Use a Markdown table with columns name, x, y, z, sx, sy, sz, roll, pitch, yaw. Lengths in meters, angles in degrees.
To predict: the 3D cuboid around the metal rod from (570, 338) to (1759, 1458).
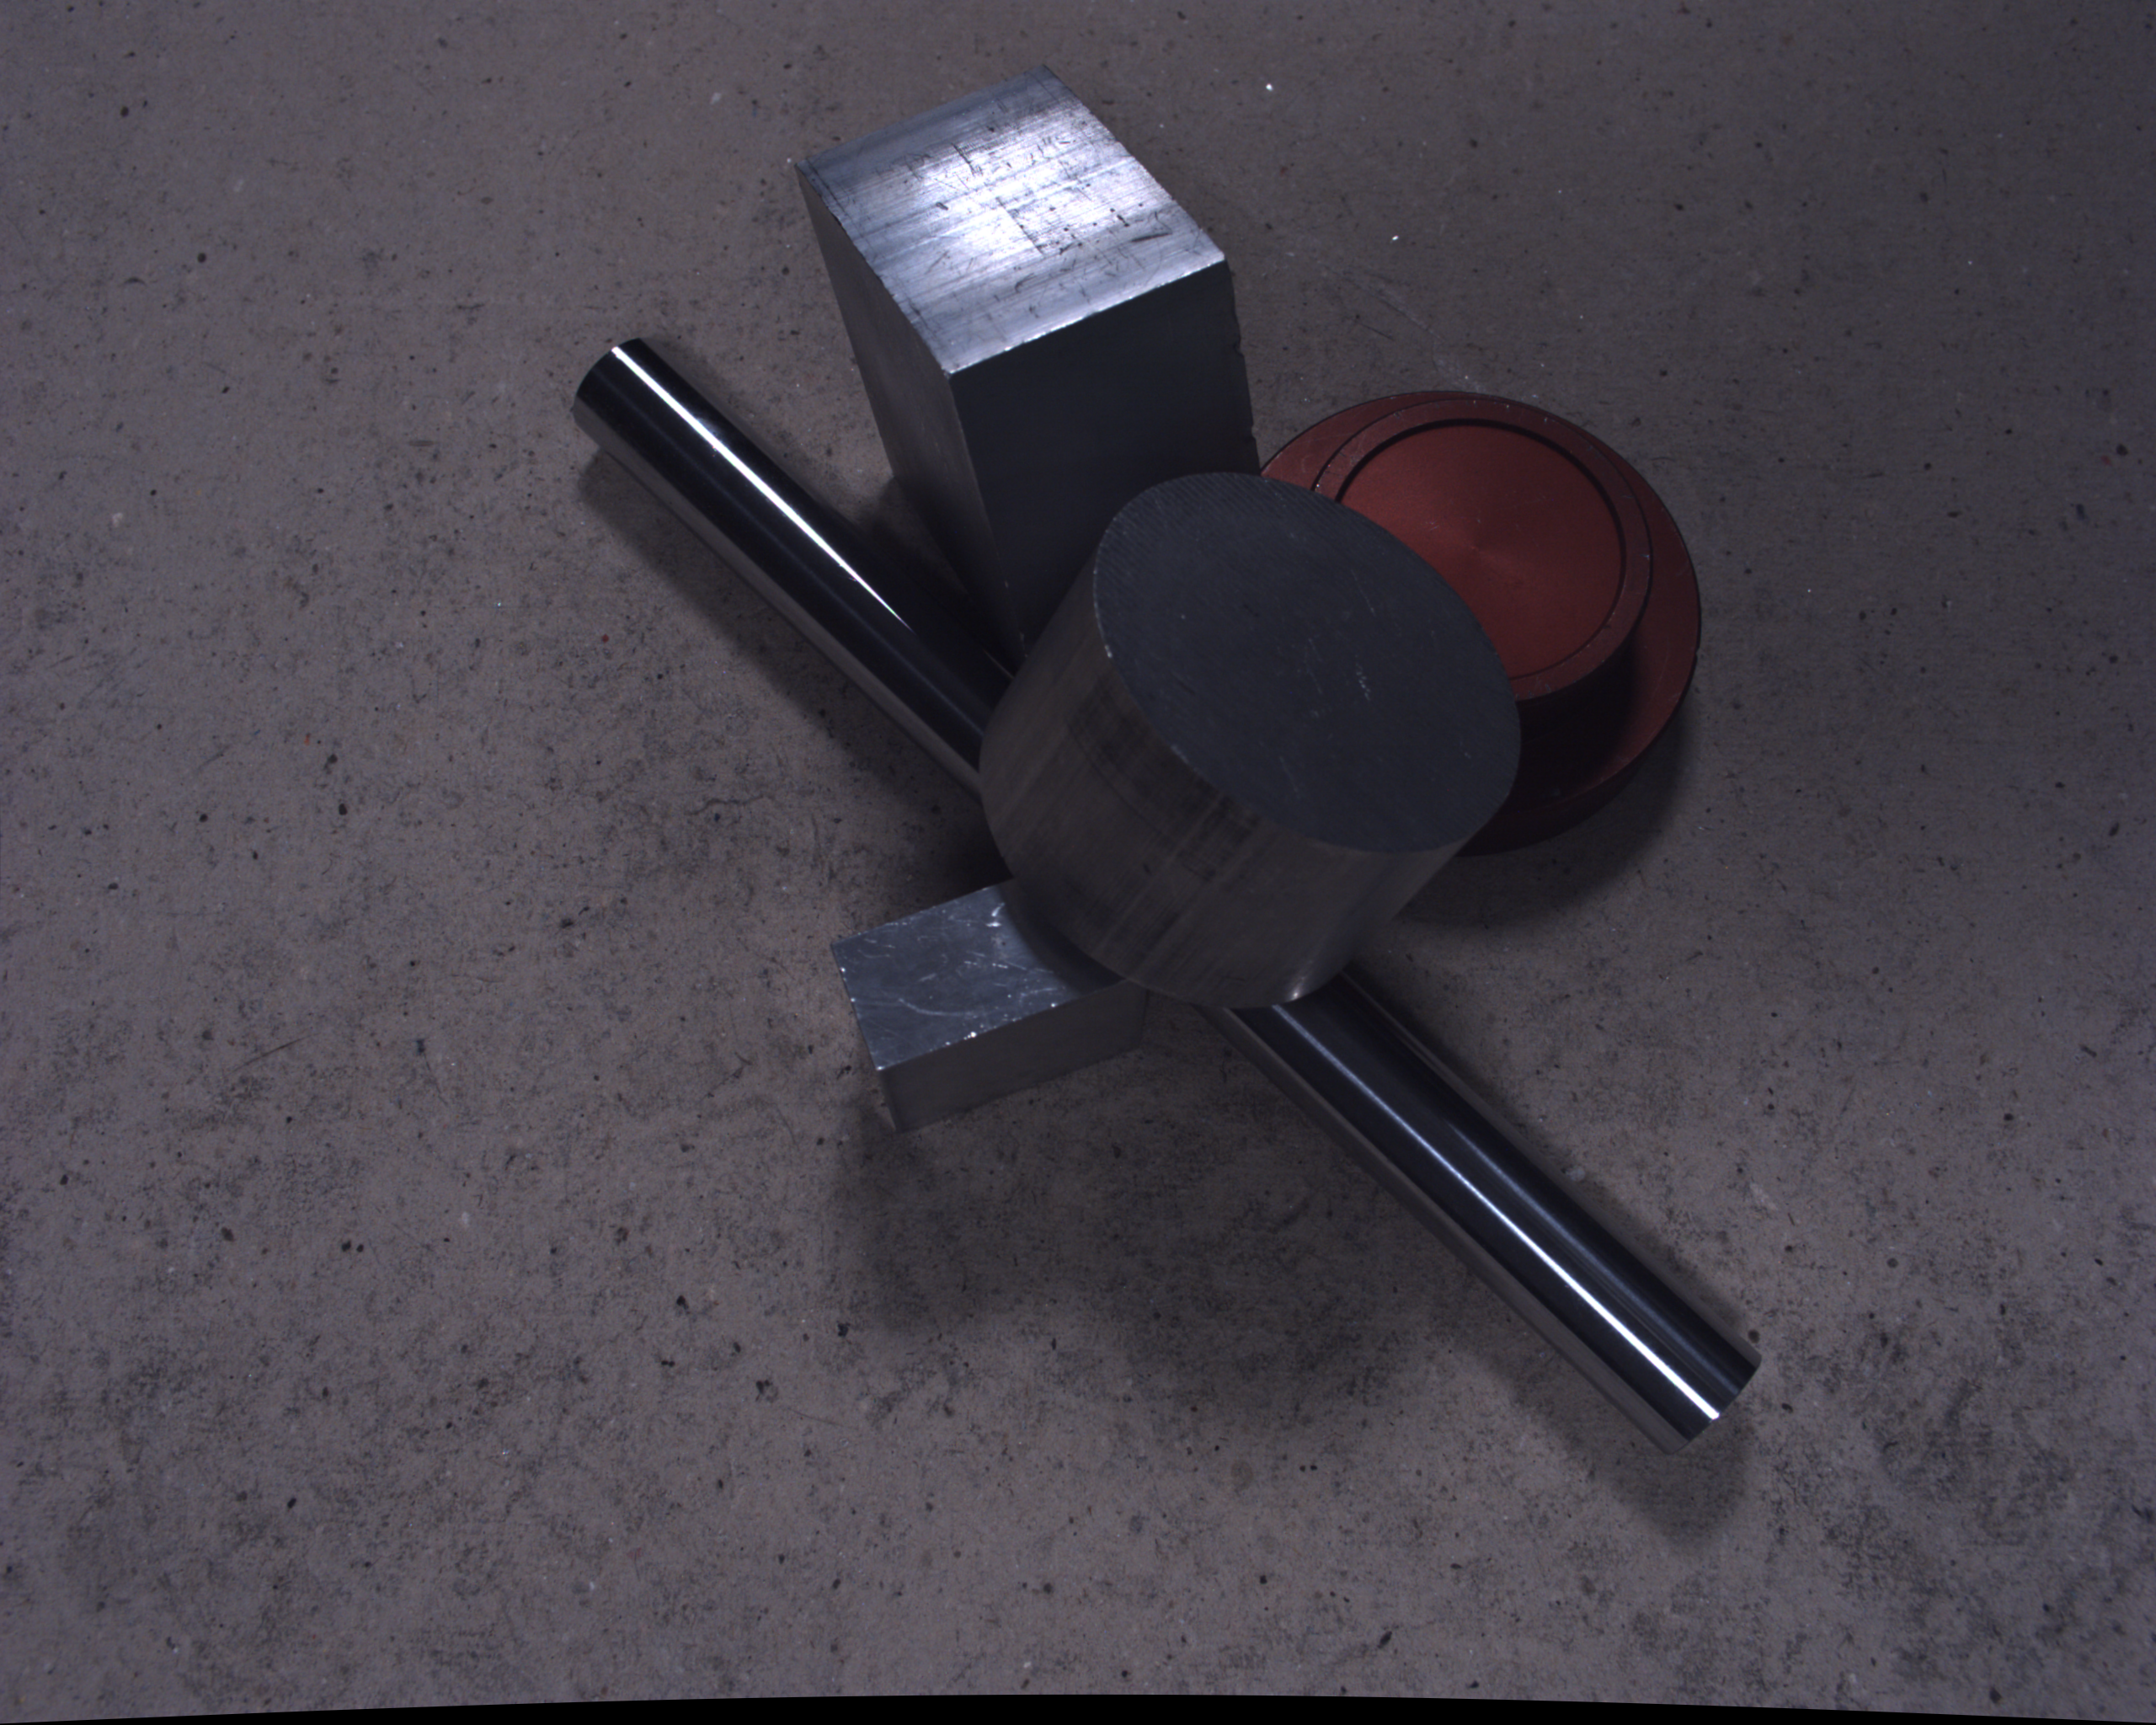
| name | x | y | z | sx | sy | sz | roll | pitch | yaw |
| --- | --- | --- | --- | --- | --- | --- | --- | --- | --- |
| metal rod | 0.008 | -0.002 | 0.411 | 0.300 | 0.025 | 0.025 | 43 | 75 | 14 |

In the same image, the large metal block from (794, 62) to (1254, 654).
| name | x | y | z | sx | sy | sz | roll | pitch | yaw |
| --- | --- | --- | --- | --- | --- | --- | --- | --- | --- |
| large metal block | -0.007 | -0.093 | 0.403 | 0.050 | 0.080 | 0.080 | -26 | 50 | -8 |

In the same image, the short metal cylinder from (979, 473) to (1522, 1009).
| name | x | y | z | sx | sy | sz | roll | pitch | yaw |
| --- | --- | --- | --- | --- | --- | --- | --- | --- | --- |
| short metal cylinder | 0.029 | -0.021 | 0.365 | 0.081 | 0.050 | 0.080 | 14 | 51 | -18 |

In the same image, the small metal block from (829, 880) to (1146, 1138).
| name | x | y | z | sx | sy | sz | roll | pitch | yaw |
| --- | --- | --- | --- | --- | --- | --- | --- | --- | --- |
| small metal block | -0.016 | 0.025 | 0.387 | 0.050 | 0.050 | 0.025 | -20 | 71 | -8 |

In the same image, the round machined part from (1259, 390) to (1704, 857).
| name | x | y | z | sx | sy | sz | roll | pitch | yaw |
| --- | --- | --- | --- | --- | --- | --- | --- | --- | --- |
| round machined part | 0.077 | -0.054 | 0.420 | 0.099 | 0.042 | 0.098 | 0 | 70 | -1 |
